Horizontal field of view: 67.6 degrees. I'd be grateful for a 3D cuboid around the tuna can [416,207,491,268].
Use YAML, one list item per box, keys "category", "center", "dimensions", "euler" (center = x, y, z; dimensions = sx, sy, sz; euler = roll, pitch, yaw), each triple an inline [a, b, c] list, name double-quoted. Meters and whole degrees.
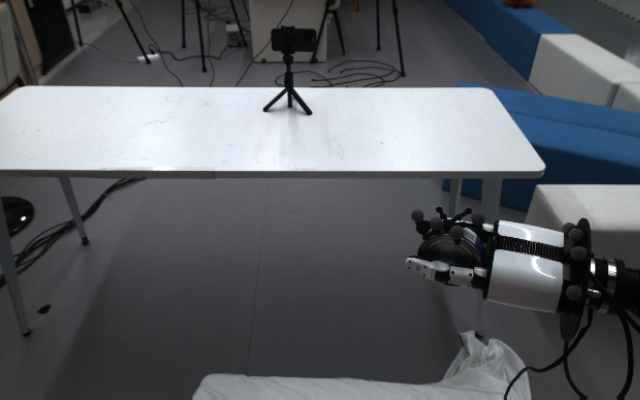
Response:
- category: "tuna can"
  center: [0.181, 0.071, 0.662]
  dimensions: [0.085, 0.085, 0.034]
  euler: [17, 37, 20]
